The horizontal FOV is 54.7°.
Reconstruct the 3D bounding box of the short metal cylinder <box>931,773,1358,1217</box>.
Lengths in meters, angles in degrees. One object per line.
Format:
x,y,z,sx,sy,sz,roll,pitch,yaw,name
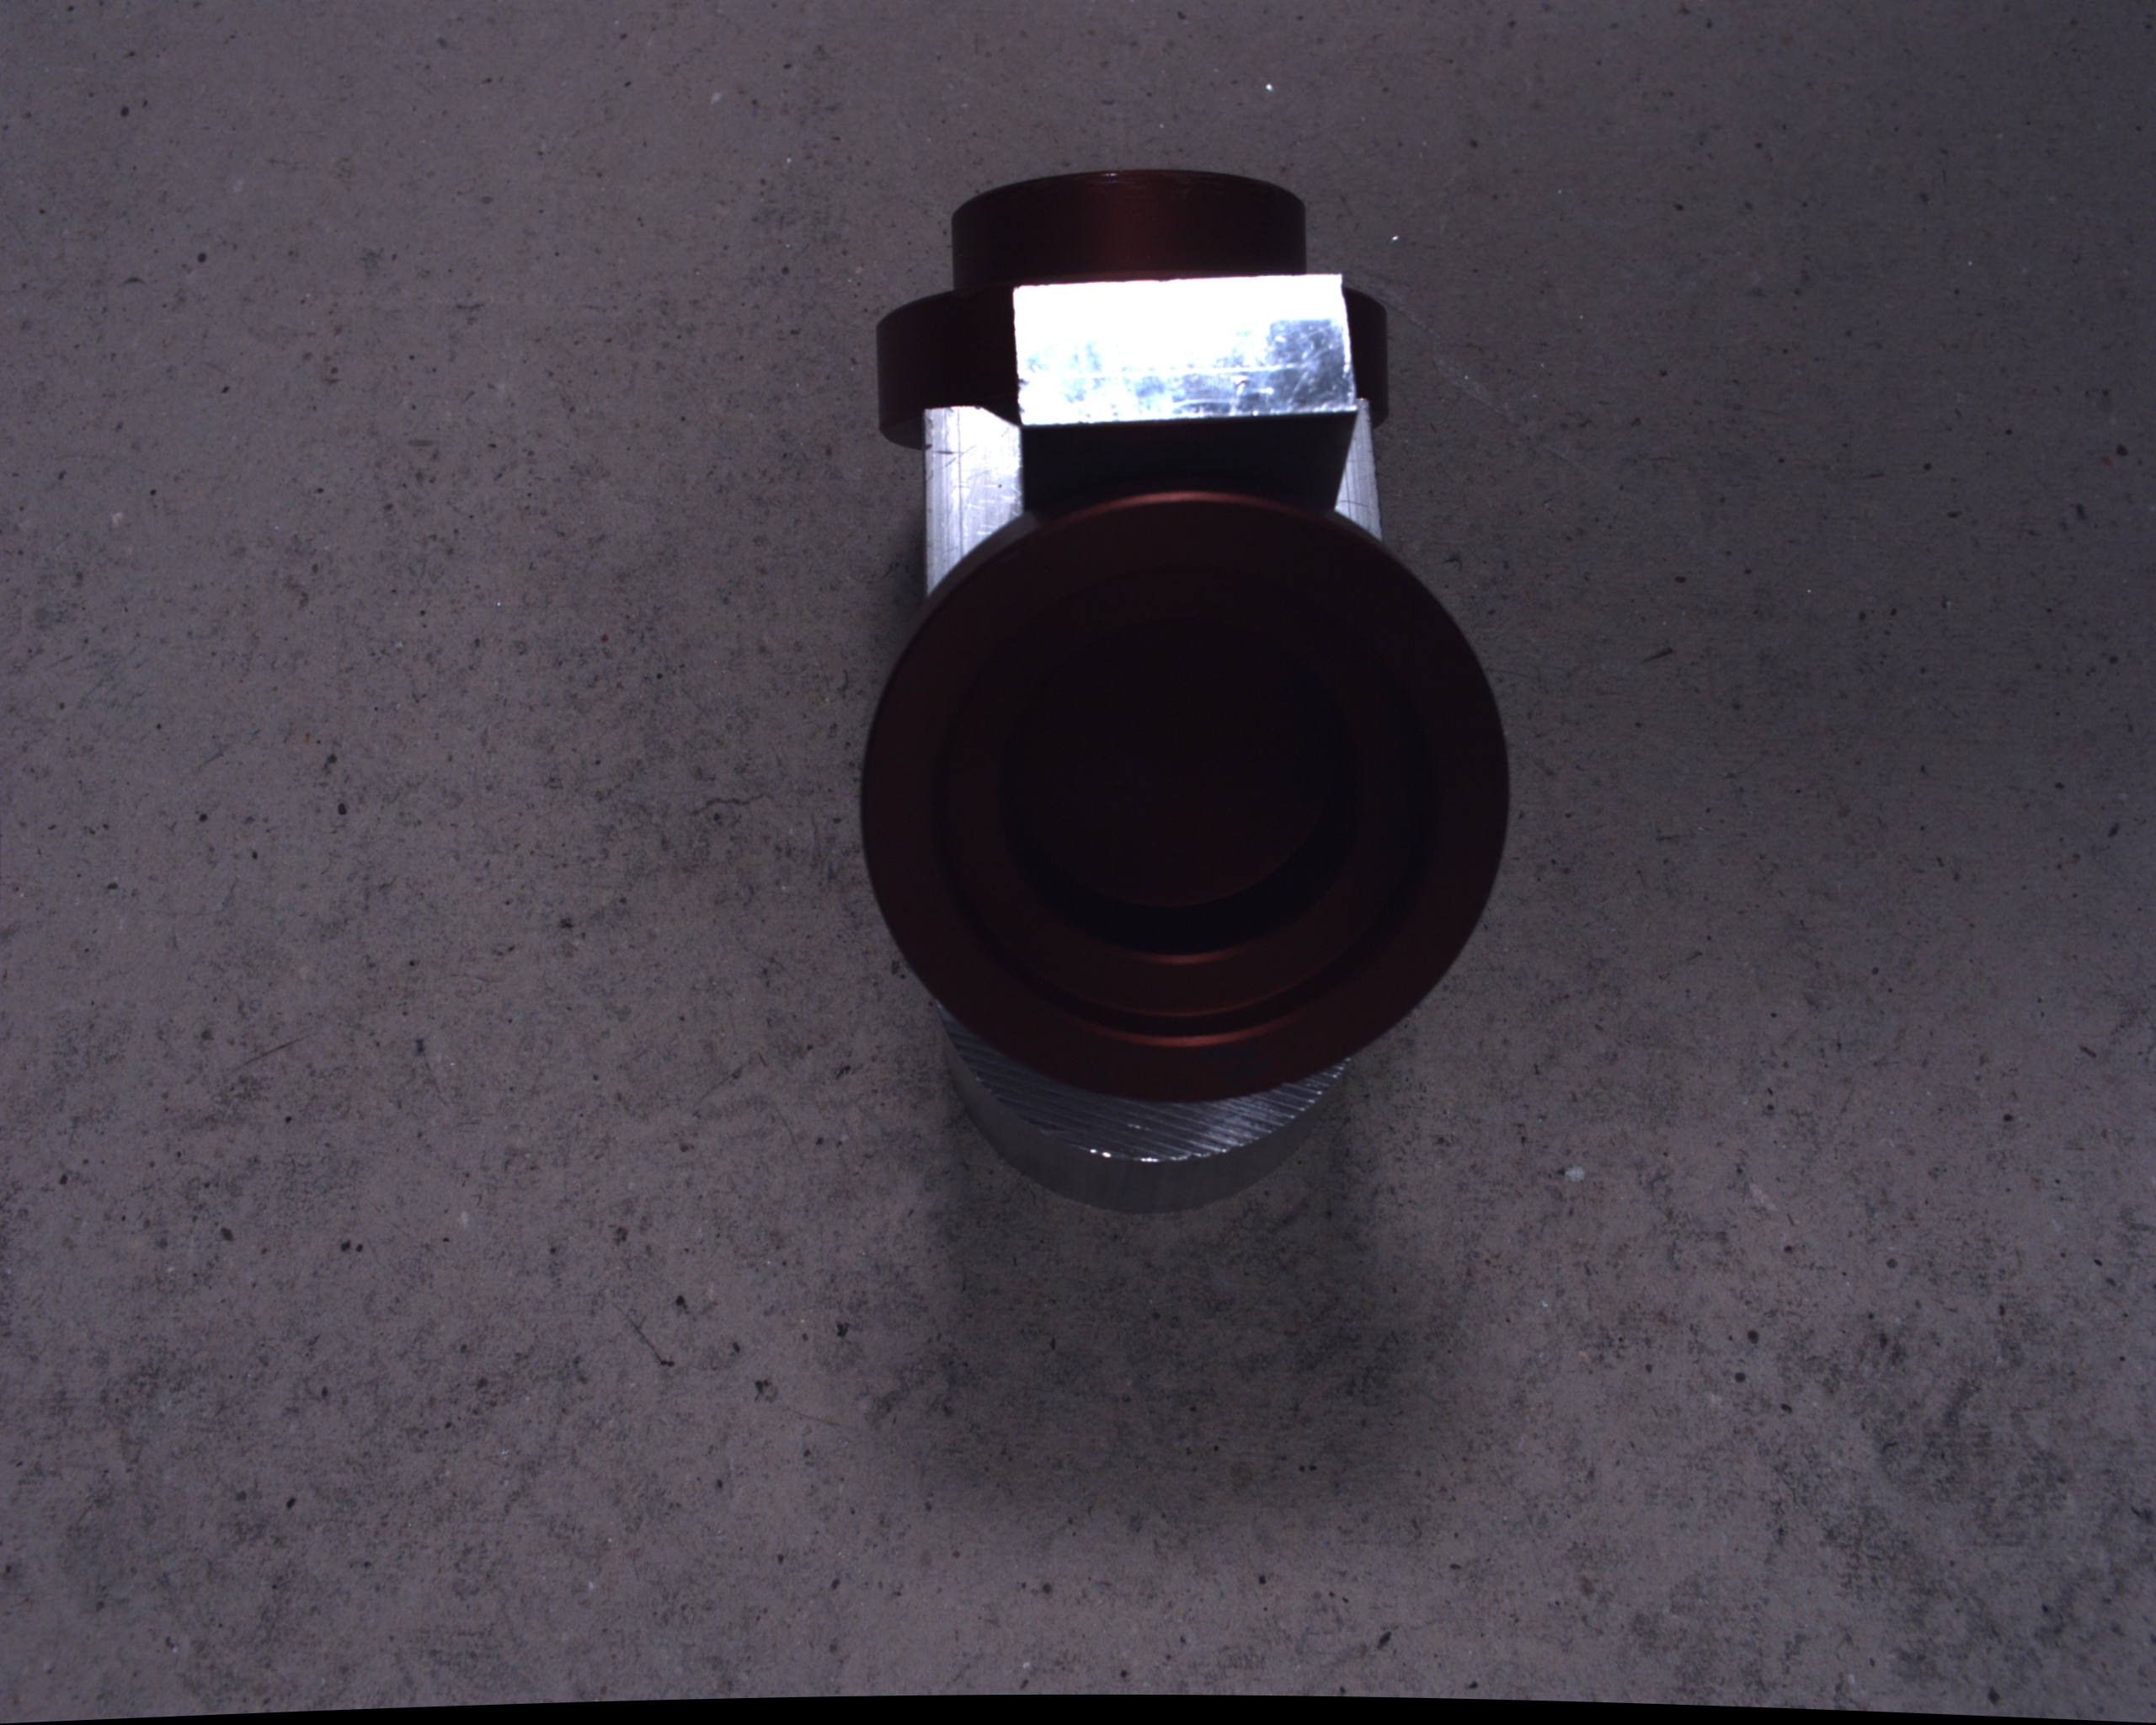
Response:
0.013,0.022,0.389,0.081,0.050,0.080,0,70,0,short metal cylinder

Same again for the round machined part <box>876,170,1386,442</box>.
0.010,-0.105,0.405,0.099,0.098,0.042,-2,95,-1,round machined part

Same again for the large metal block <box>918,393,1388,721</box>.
0.013,-0.045,0.396,0.081,0.080,0.050,-2,70,-1,large metal block

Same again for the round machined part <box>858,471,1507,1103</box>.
0.016,-0.014,0.336,0.099,0.042,0.097,-1,109,-1,round machined part

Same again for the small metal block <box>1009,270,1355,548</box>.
0.015,-0.069,0.336,0.050,0.050,0.025,-3,70,-1,small metal block
